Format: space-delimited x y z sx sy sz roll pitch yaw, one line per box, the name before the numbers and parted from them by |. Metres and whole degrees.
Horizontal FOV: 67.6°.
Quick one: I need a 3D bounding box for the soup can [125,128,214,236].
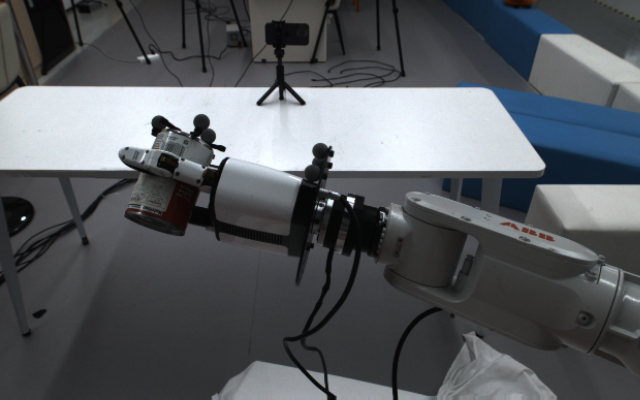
soup can | -0.164 -0.018 0.538 0.067 0.067 0.101 11 72 13
